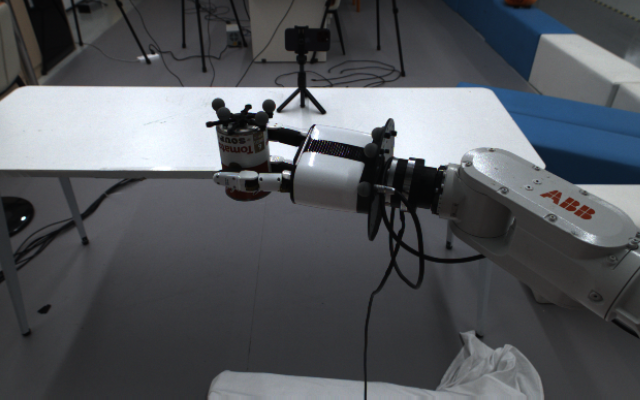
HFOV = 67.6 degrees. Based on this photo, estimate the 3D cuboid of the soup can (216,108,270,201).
[{"bbox_3d":[-0.100,-0.059,0.657,0.067,0.101,0.067,-2,34,1],"label":"soup can"}]
